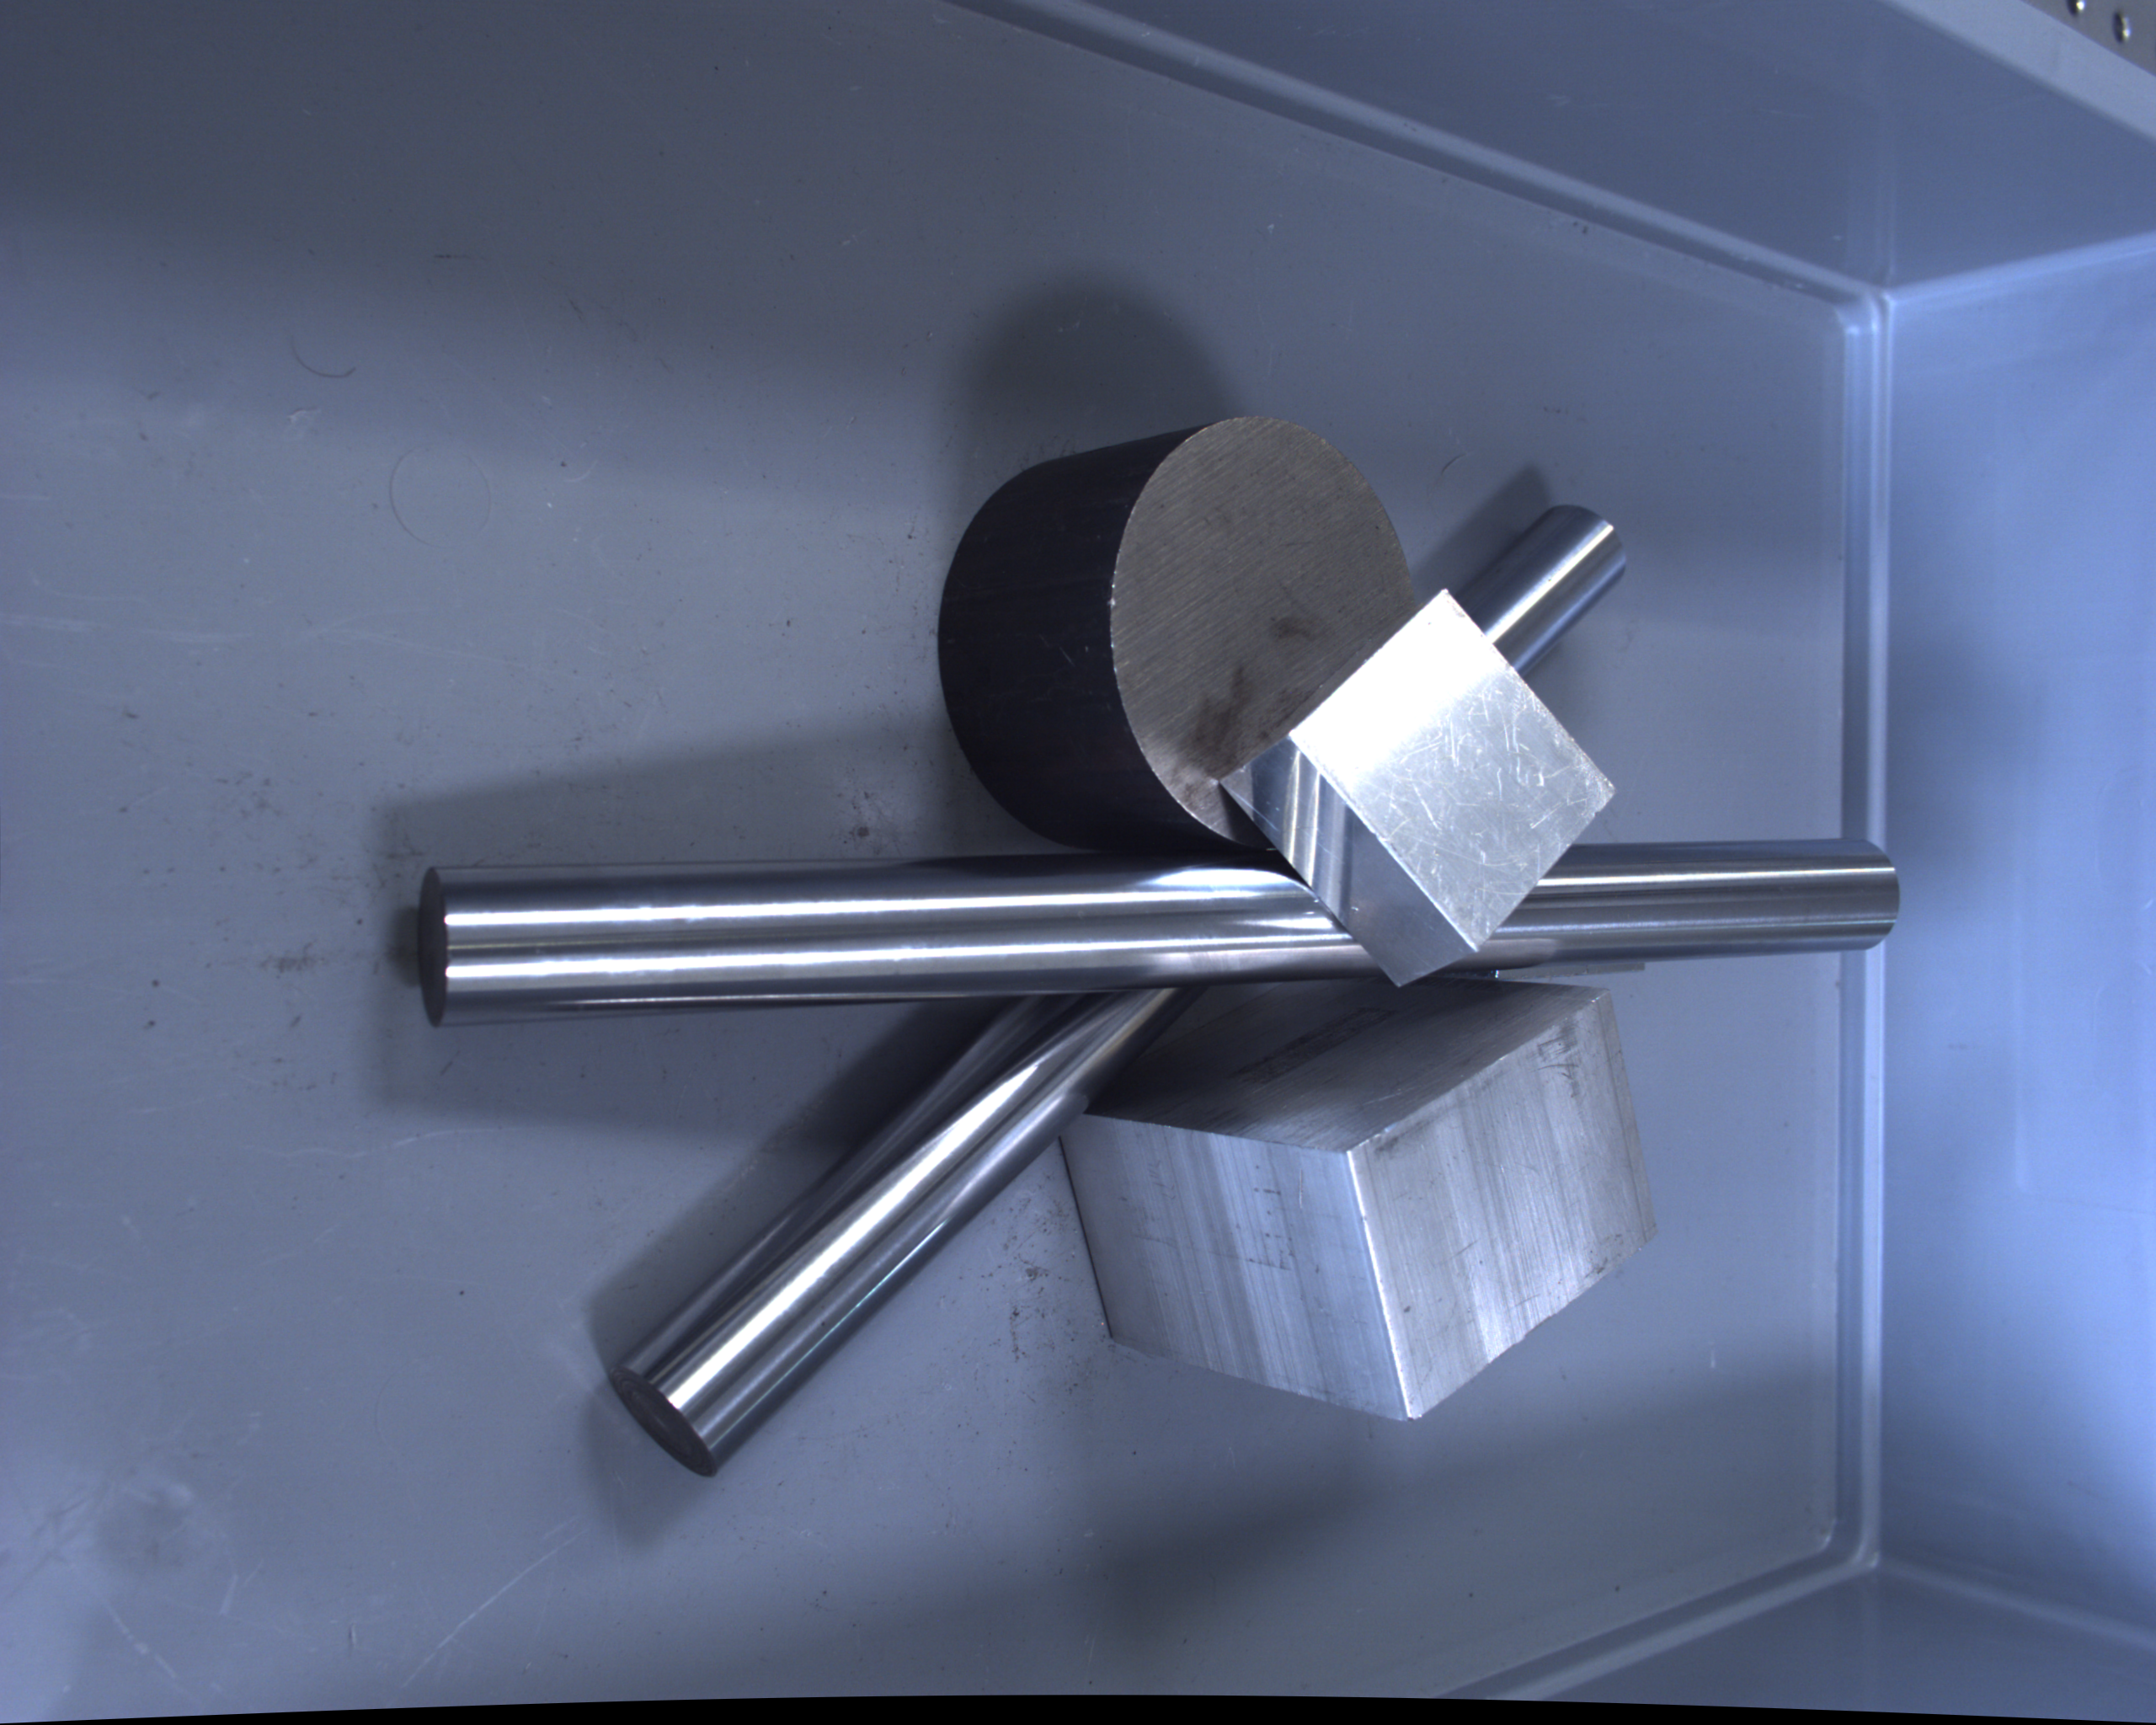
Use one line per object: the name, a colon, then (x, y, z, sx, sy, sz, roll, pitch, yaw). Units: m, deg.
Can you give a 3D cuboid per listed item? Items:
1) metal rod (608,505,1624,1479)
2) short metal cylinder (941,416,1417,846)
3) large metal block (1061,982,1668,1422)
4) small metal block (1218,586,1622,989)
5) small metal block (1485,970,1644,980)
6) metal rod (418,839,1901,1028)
metal rod: (0.026, 0.009, 0.428, 0.302, 0.025, 0.025, -42, 116, -32)
short metal cylinder: (0.021, -0.043, 0.406, 0.081, 0.050, 0.080, 1, 89, -40)
large metal block: (0.056, 0.062, 0.415, 0.081, 0.080, 0.050, -23, 105, -38)
small metal block: (0.063, -0.014, 0.382, 0.050, 0.025, 0.050, 49, 59, -3)
small metal block: (0.090, 0.012, 0.464, 0.050, 0.050, 0.025, 0, 90, -39)
metal rod: (0.036, 0.010, 0.389, 0.303, 0.025, 0.025, -1, 91, -27)
